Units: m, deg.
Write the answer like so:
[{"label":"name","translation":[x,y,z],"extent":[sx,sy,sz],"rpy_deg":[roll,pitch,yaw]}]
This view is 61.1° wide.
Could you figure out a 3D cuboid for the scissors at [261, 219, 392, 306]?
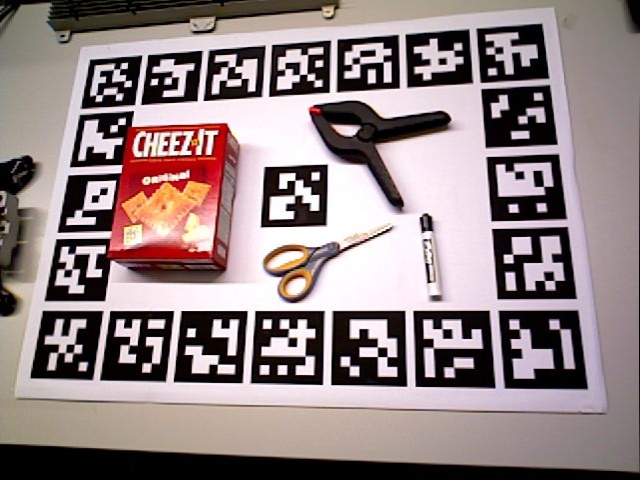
[{"label":"scissors","translation":[0.012,0.017,0.772],"extent":[0.202,0.016,0.087],"rpy_deg":[-28,68,-3]}]

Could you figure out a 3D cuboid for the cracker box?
[{"label":"cracker box","translation":[-0.219,-0.062,0.812],"extent":[0.164,0.072,0.212],"rpy_deg":[0,72,10]}]

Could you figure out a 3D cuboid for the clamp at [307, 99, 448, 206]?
[{"label":"clamp","translation":[0.067,-0.160,0.826],"extent":[0.203,0.037,0.164],"rpy_deg":[28,77,17]}]

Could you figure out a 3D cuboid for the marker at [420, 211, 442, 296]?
[{"label":"marker","translation":[0.153,0.017,0.746],"extent":[0.019,0.020,0.120],"rpy_deg":[-5,70,8]}]
